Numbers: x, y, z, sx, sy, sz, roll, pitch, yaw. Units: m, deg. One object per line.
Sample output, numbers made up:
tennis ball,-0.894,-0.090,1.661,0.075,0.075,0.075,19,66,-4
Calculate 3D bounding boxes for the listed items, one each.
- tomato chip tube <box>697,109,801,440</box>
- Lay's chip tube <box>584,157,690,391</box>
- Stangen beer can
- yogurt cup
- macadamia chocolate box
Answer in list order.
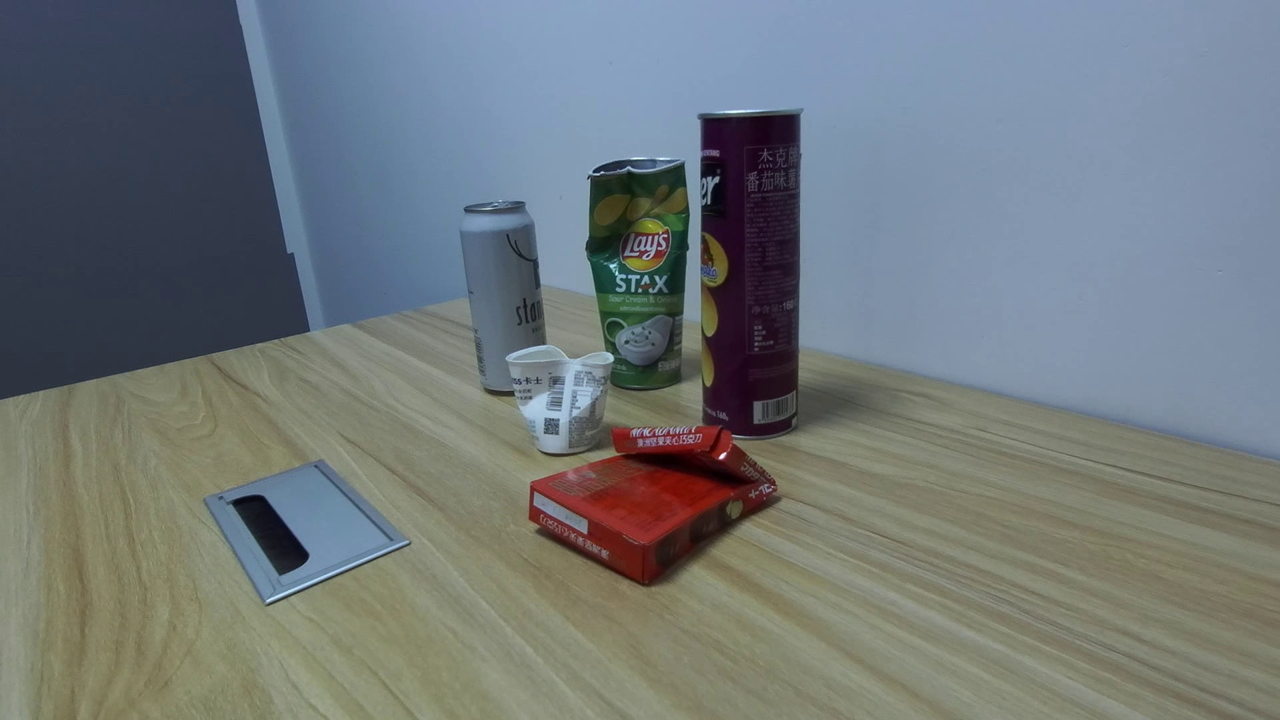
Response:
tomato chip tube,0.081,-0.061,0.524,0.076,0.234,0.080,2,18,14
Lay's chip tube,0.001,-0.076,0.635,0.077,0.201,0.069,-13,20,-19
Stangen beer can,-0.123,-0.056,0.650,0.067,0.171,0.067,-3,16,1
yogurt cup,-0.058,0.028,0.534,0.075,0.071,0.053,-8,21,-7
macadamia chocolate box,0.003,0.079,0.439,0.111,0.056,0.127,-6,14,47
